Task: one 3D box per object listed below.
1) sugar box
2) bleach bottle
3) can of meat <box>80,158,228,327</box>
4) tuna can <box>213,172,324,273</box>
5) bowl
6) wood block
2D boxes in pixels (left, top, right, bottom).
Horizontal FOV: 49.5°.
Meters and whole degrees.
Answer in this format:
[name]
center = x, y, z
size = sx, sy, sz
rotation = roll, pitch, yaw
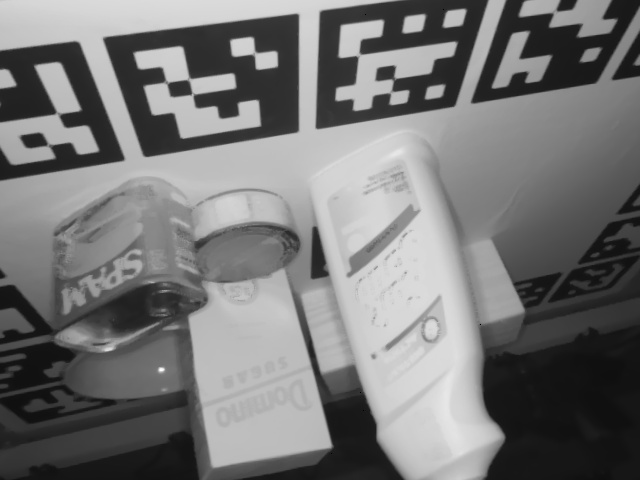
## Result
[sugar box]
center = -0.050, 0.083, 0.546
size = 0.094, 0.177, 0.044
rotation = 1, 140, -29
[bleach bottle]
center = 0.080, 0.040, 0.482
size = 0.102, 0.251, 0.068
rotation = -24, 146, 11
[can of meat]
center = -0.121, 0.001, 0.494
size = 0.101, 0.084, 0.058
rotation = -26, 148, 16
[tuna can]
center = -0.042, -0.013, 0.541
size = 0.086, 0.034, 0.085
rotation = -12, 142, -9
[bowl]
center = -0.145, 0.094, 0.633
size = 0.163, 0.055, 0.160
rotation = -15, 147, -9
[wood block]
center = 0.109, 0.088, 0.710
size = 0.207, 0.090, 0.090
rotation = -14, 141, -2
